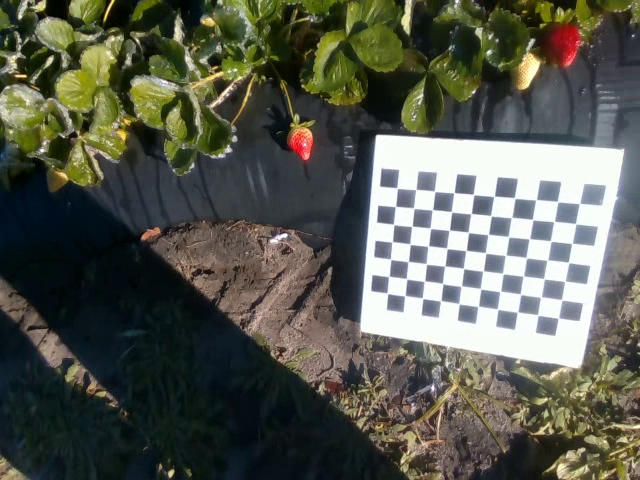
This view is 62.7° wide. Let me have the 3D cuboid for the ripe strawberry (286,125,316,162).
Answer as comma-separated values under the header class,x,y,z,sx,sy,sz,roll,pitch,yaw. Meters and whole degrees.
class,x,y,z,sx,sy,sz,roll,pitch,yaw
ripe strawberry,-0.024,-0.128,0.700,0.039,0.053,0.040,-16,-9,20
